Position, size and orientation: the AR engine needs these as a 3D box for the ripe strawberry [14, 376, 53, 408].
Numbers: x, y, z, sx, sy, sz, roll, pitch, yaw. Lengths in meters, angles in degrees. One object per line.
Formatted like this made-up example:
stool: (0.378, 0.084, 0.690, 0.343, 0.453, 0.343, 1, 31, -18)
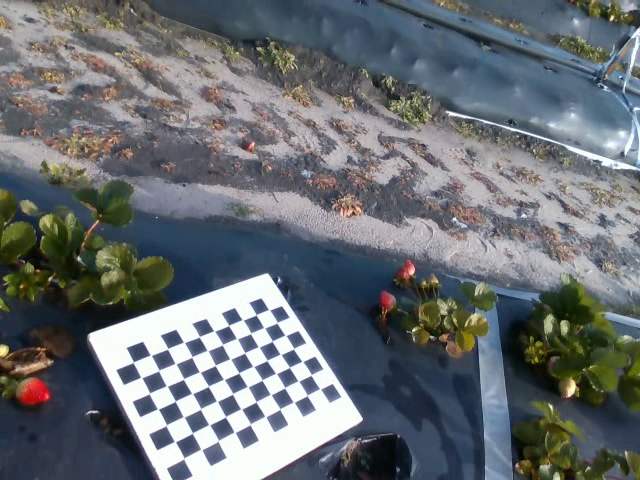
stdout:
ripe strawberry: (-0.335, 0.179, 0.745, 0.043, 0.035, 0.030, 25, -44, -1)
